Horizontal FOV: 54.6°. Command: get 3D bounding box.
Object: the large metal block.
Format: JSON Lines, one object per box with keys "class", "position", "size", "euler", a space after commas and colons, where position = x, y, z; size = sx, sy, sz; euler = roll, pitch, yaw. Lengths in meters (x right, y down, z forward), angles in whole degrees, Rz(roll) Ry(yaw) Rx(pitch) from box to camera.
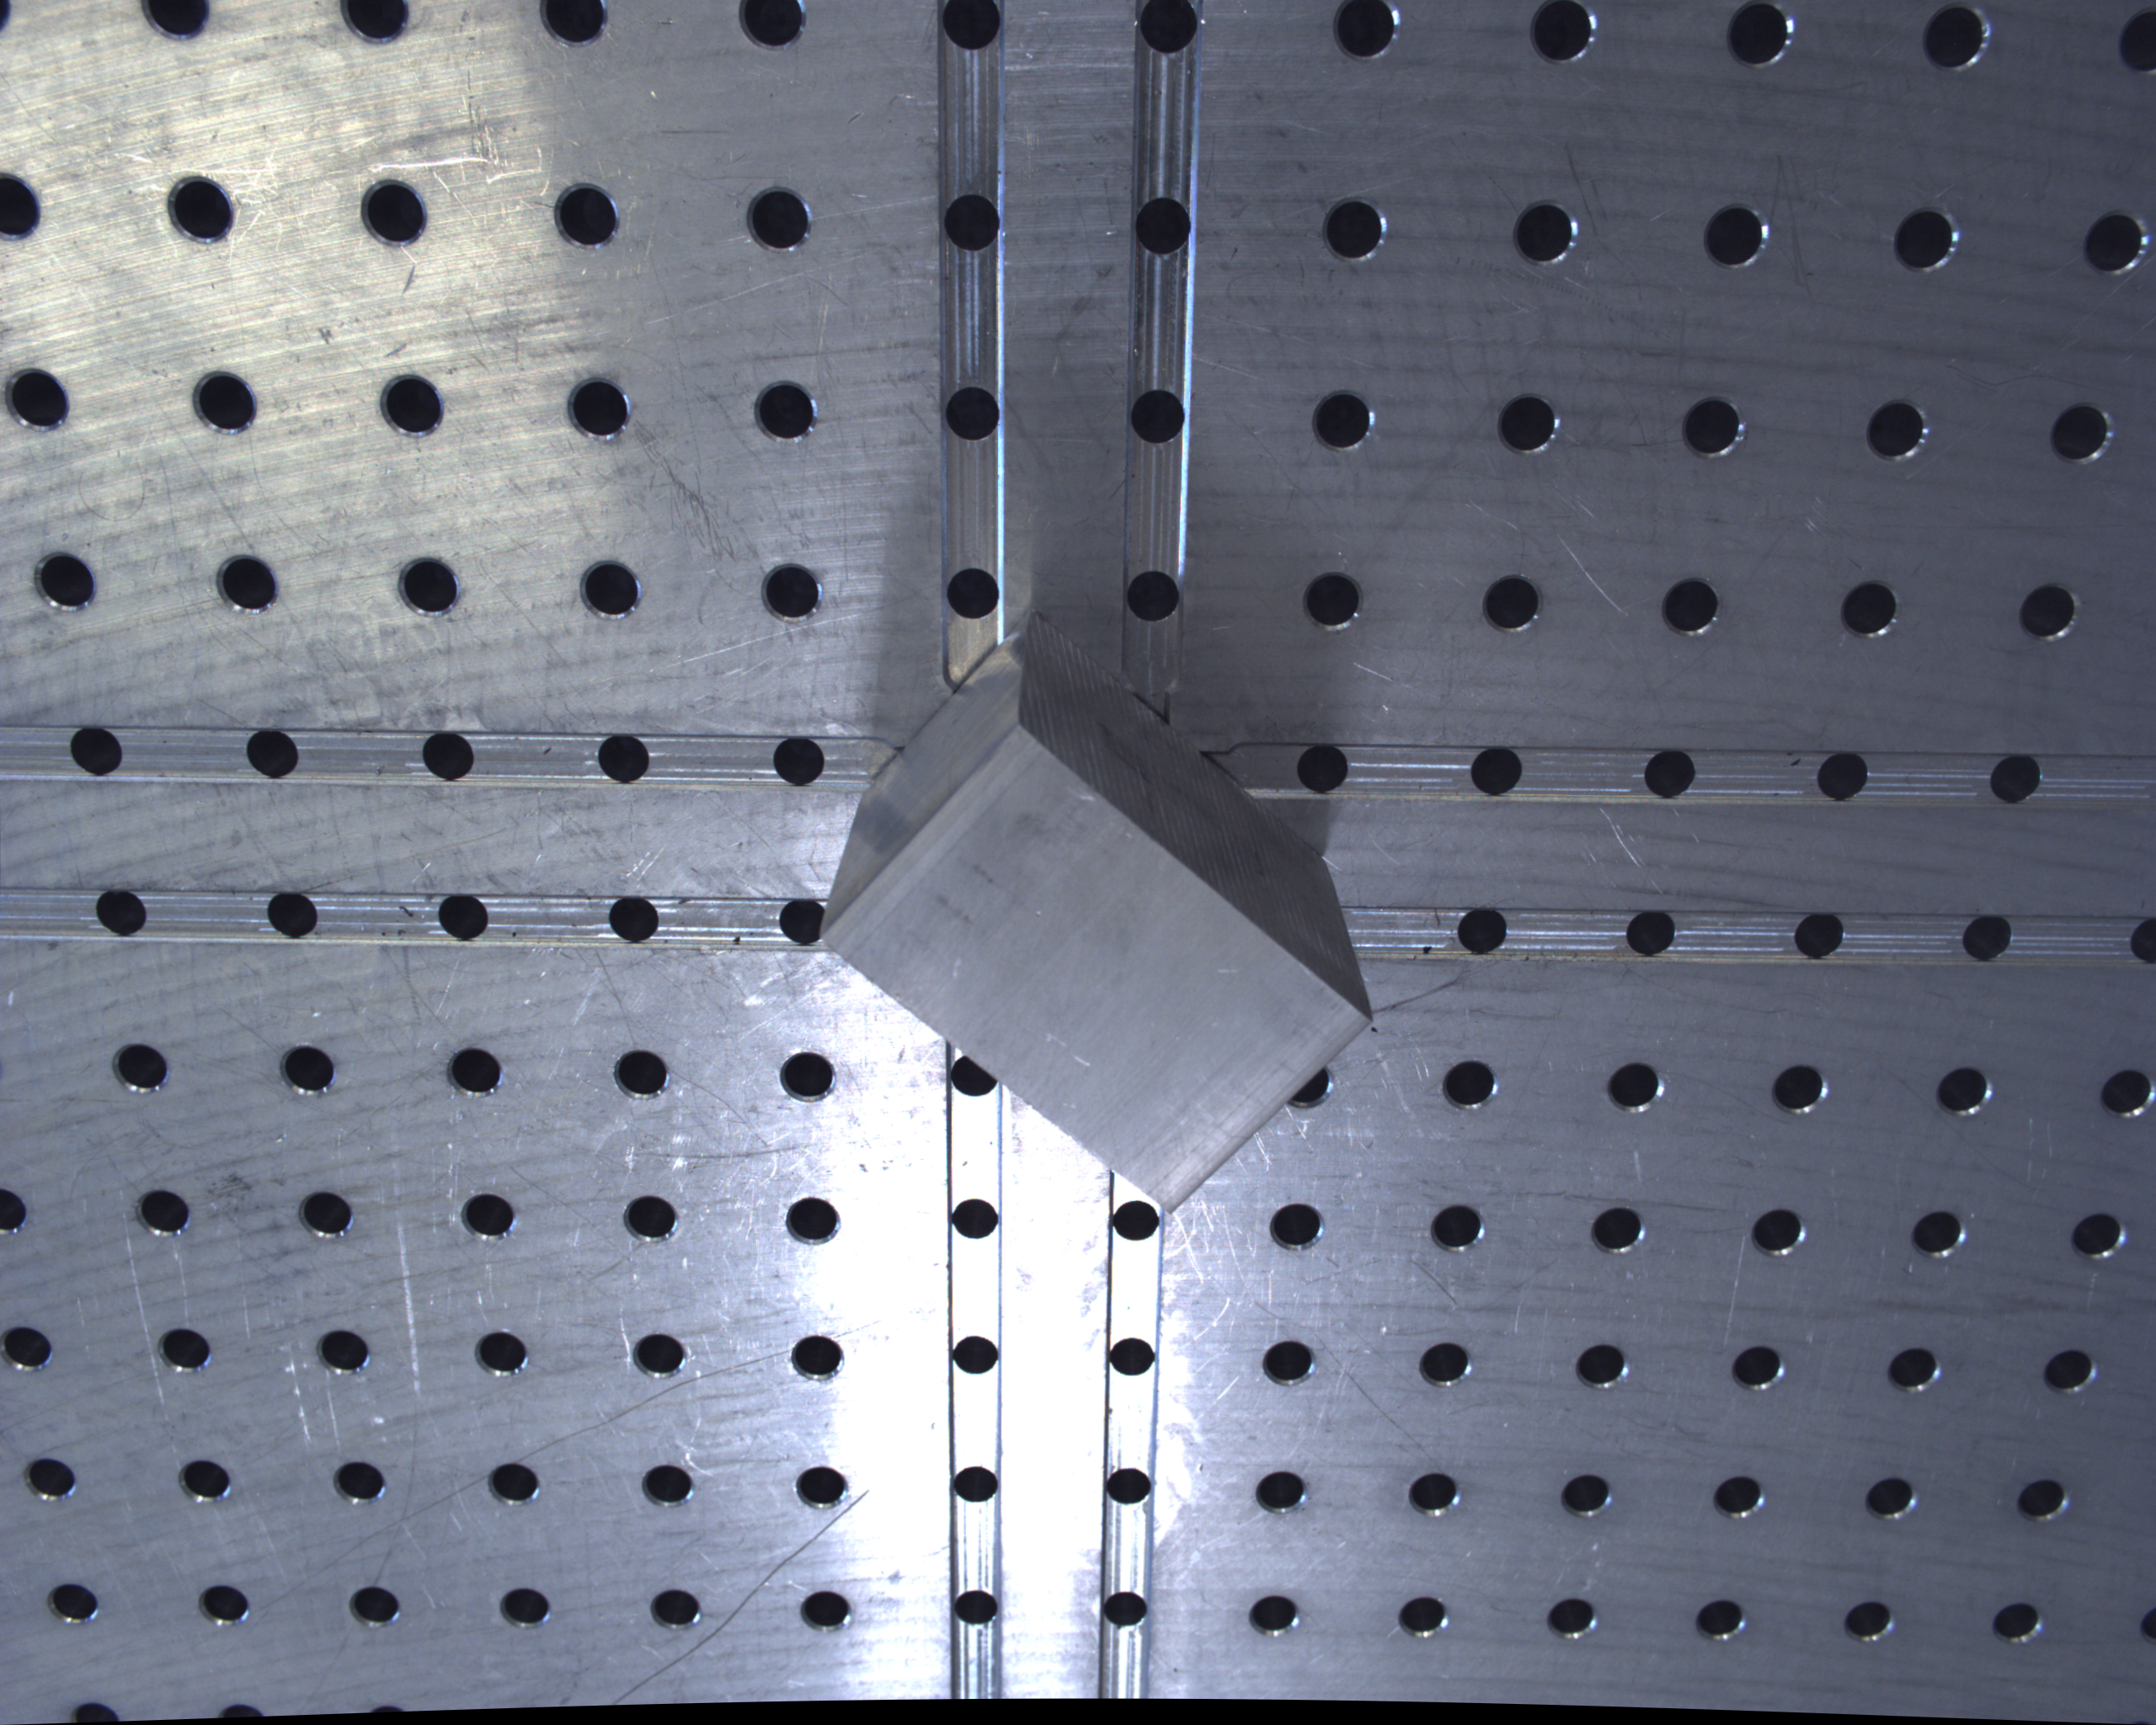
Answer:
{"class": "large metal block", "position": [0.003, 0.006, 0.386], "size": [0.080, 0.080, 0.050], "euler": [39, 106, -14]}
